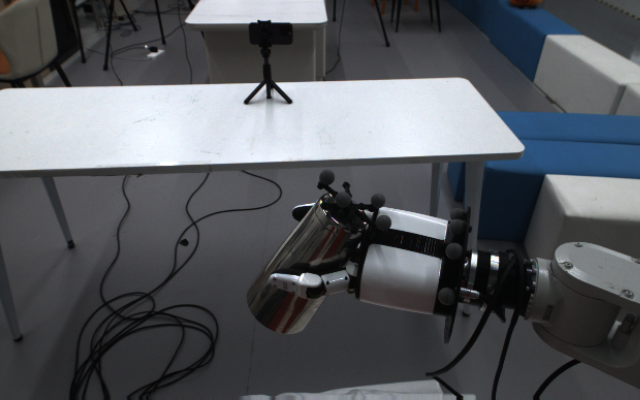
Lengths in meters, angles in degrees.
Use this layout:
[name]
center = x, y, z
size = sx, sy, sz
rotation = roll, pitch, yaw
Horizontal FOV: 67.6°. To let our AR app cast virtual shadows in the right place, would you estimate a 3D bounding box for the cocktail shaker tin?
[cocktail shaker tin]
center = -0.012, 0.070, 0.589
size = 0.093, 0.170, 0.093
rotation = 26, 32, -18
